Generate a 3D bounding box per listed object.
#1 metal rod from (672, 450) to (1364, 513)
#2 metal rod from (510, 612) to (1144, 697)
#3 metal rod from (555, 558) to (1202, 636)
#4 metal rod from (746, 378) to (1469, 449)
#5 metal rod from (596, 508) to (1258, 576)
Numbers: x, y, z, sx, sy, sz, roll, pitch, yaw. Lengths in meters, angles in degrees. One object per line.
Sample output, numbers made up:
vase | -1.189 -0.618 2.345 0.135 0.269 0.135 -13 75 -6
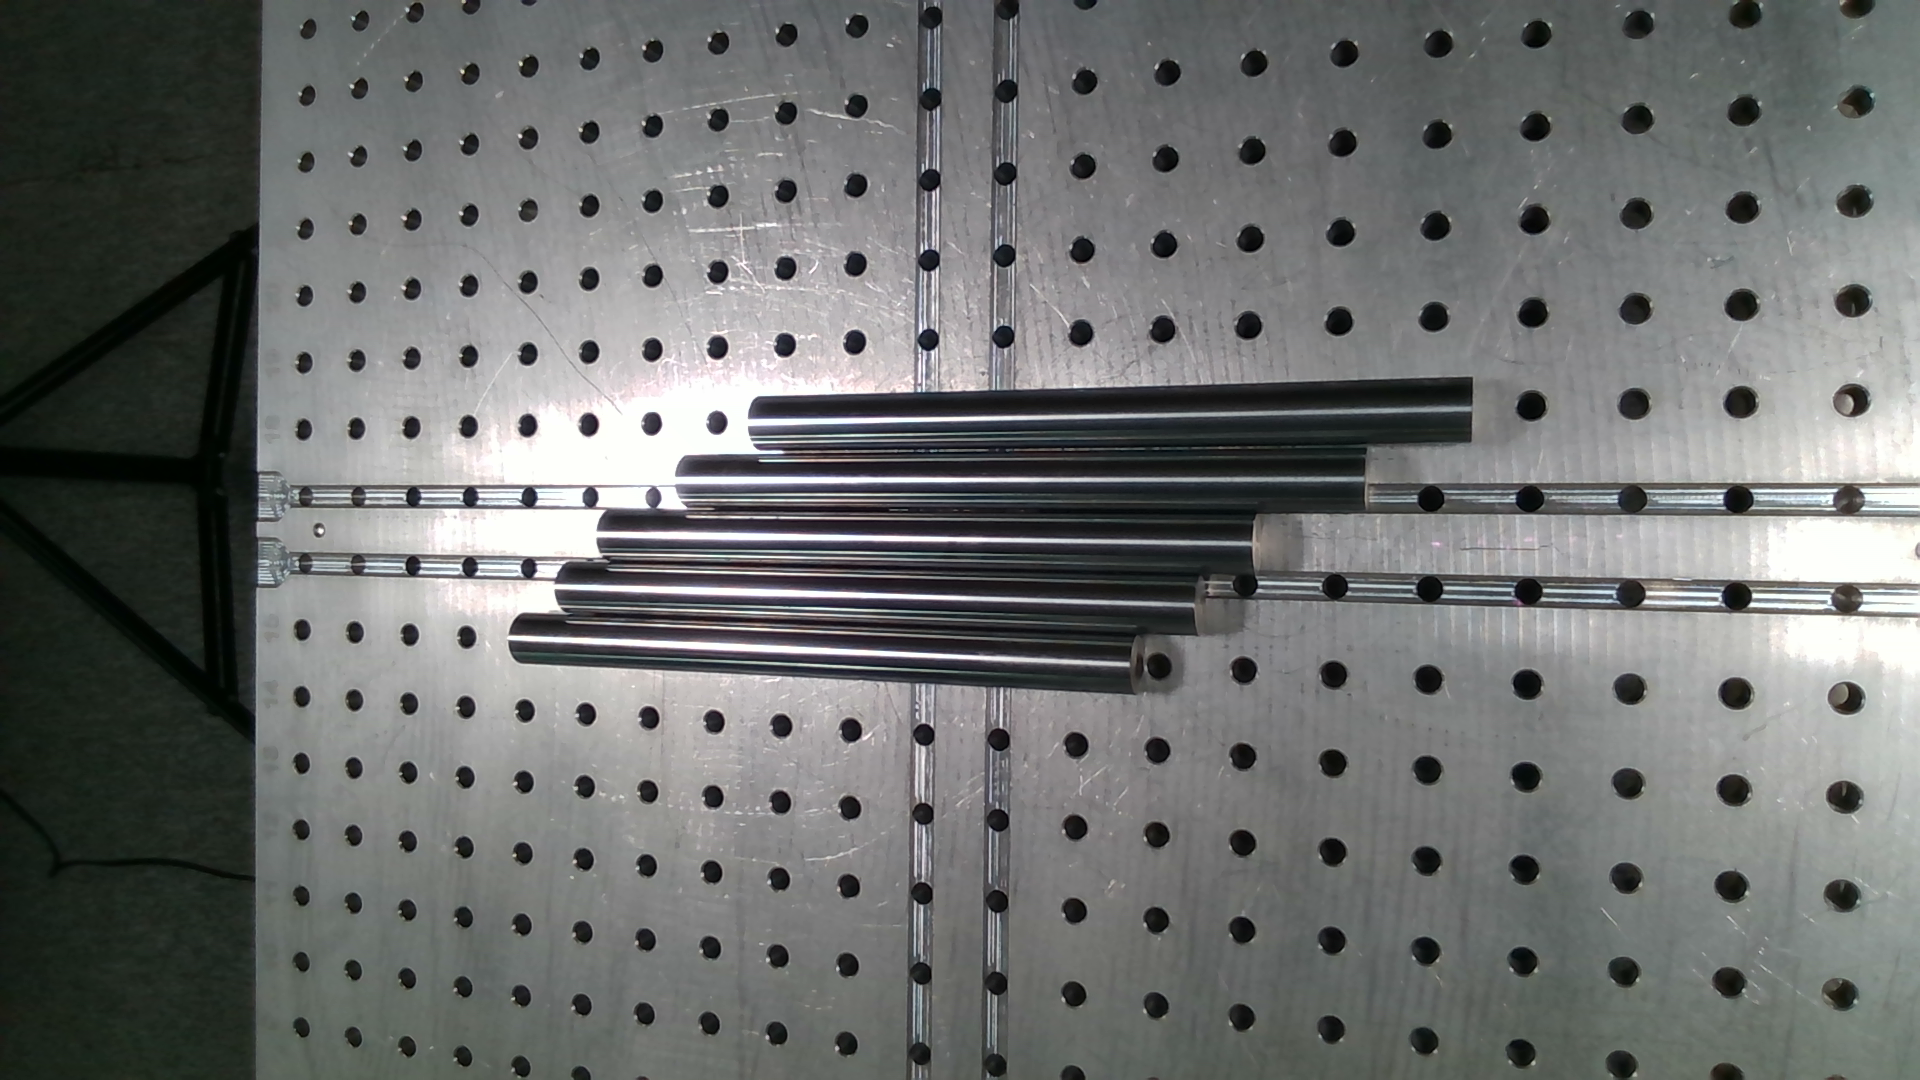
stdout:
metal rod | 0.015 -0.025 0.581 0.300 0.025 0.025 1 91 20
metal rod | -0.068 0.049 0.613 0.300 0.025 0.025 1 91 20
metal rod | -0.044 0.024 0.604 0.300 0.025 0.025 1 91 20
metal rod | 0.050 -0.051 0.569 0.300 0.025 0.025 1 91 20
metal rod | -0.024 -0.001 0.596 0.300 0.025 0.025 1 91 20
